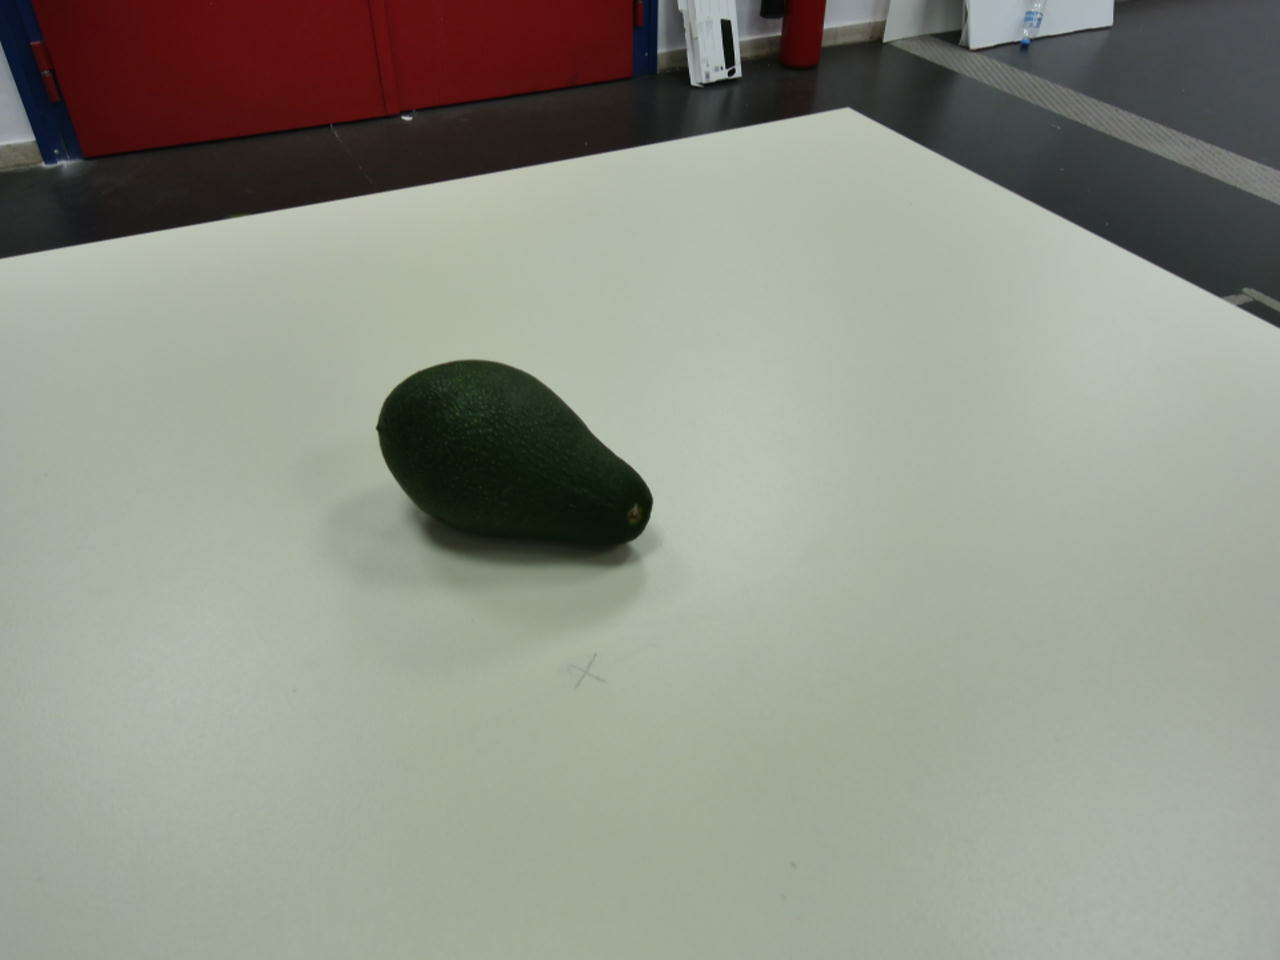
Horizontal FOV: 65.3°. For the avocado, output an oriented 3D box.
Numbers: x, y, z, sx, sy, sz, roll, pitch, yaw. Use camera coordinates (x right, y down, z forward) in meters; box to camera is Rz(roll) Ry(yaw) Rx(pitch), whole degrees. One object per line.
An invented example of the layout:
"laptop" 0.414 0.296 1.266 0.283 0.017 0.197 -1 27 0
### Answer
"avocado" -0.054 -0.009 0.407 0.110 0.071 0.072 28 45 30
